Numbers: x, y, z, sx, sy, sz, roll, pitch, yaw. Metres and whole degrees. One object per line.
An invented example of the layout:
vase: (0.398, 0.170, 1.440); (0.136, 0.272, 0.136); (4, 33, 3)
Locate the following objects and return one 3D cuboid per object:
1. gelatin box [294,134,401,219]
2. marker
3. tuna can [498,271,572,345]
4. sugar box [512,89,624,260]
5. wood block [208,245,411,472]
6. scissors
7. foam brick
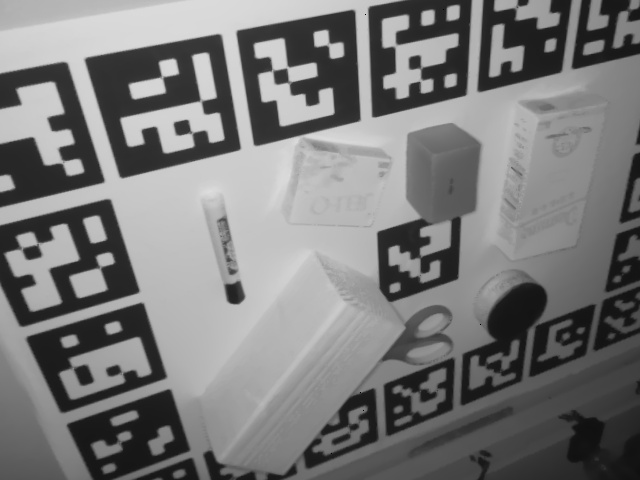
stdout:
gelatin box: (0.026, -0.058, 0.657); (0.090, 0.030, 0.072); (1, 115, -25)
marker: (-0.073, 0.003, 0.651); (0.020, 0.019, 0.120); (-15, 120, -15)
tuna can: (0.257, 0.081, 0.830); (0.087, 0.033, 0.085); (-11, 120, -18)
sugar box: (0.264, -0.068, 0.749); (0.094, 0.045, 0.175); (-12, 121, -17)
wood block: (-0.014, 0.121, 0.705); (0.091, 0.091, 0.205); (29, 104, -34)
scissors: (0.091, 0.128, 0.797); (0.205, 0.016, 0.087); (-10, 120, -21)
foam brick: (0.129, -0.071, 0.678); (0.053, 0.051, 0.077); (-14, 121, -16)
